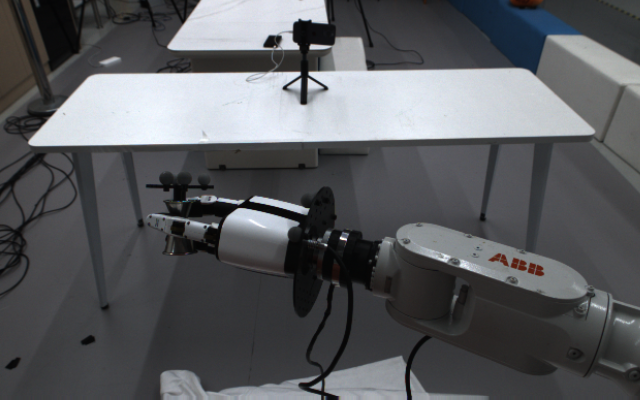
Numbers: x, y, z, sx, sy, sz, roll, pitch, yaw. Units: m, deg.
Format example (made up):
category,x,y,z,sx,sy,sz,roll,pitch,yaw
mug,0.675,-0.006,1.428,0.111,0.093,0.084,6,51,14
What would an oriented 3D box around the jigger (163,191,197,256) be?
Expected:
category,x,y,z,sx,sy,sz,roll,pitch,yaw
jigger,-0.178,0.034,0.623,0.043,0.071,0.043,0,3,0
